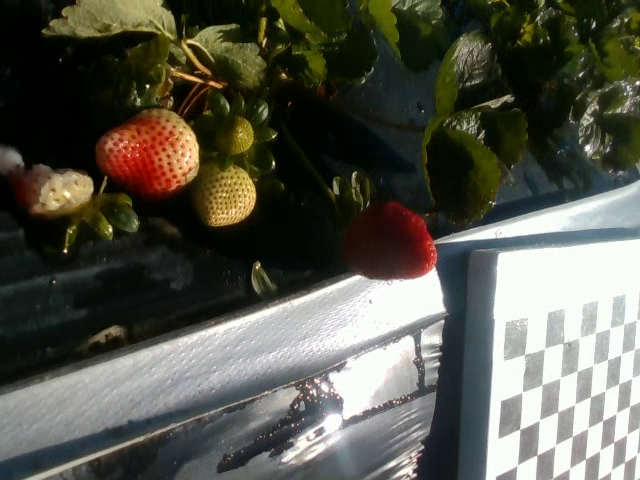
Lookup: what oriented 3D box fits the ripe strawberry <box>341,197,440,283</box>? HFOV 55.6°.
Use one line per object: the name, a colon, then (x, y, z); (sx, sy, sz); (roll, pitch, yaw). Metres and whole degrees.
ripe strawberry: (0.029, 0.004, 0.236); (0.036, 0.038, 0.046); (-5, 23, -37)
